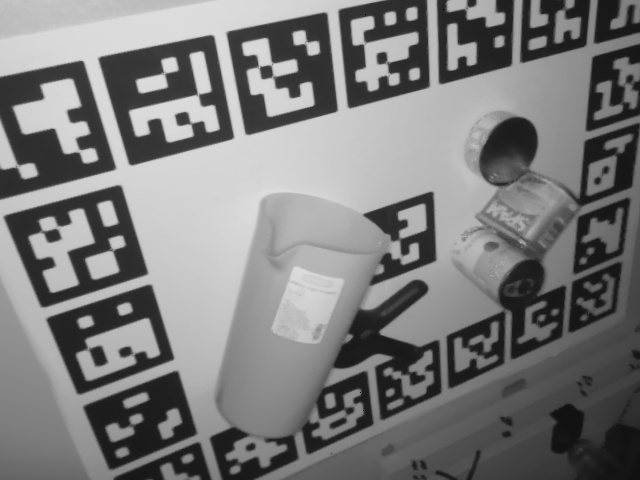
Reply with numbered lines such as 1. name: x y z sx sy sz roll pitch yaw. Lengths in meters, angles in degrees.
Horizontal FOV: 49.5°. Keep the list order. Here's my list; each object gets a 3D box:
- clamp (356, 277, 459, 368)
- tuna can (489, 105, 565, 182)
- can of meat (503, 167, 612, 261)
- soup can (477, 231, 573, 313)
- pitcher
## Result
1. clamp: 0.098 0.117 0.867 0.167 0.036 0.121 -15 123 -15
2. tuna can: 0.243 -0.114 0.817 0.087 0.033 0.085 -10 115 -21
3. can of meat: 0.284 -0.035 0.830 0.058 0.101 0.084 40 90 -32
4. soup can: 0.249 0.037 0.852 0.069 0.101 0.067 -11 116 -22
5. pitcher: 0.002 0.079 0.731 0.192 0.132 0.240 -10 127 -46
